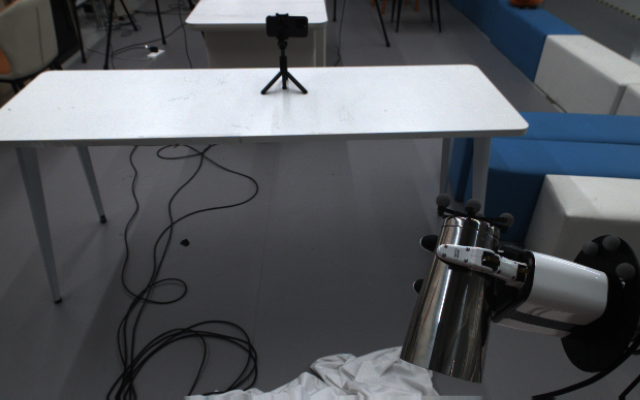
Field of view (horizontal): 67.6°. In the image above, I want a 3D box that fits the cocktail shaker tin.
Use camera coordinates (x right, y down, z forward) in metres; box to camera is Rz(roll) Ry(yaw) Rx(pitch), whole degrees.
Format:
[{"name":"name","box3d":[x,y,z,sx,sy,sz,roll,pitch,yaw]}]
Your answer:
[{"name":"cocktail shaker tin","box3d":[0.161,0.107,0.560,0.093,0.093,0.170,13,79,15]}]
